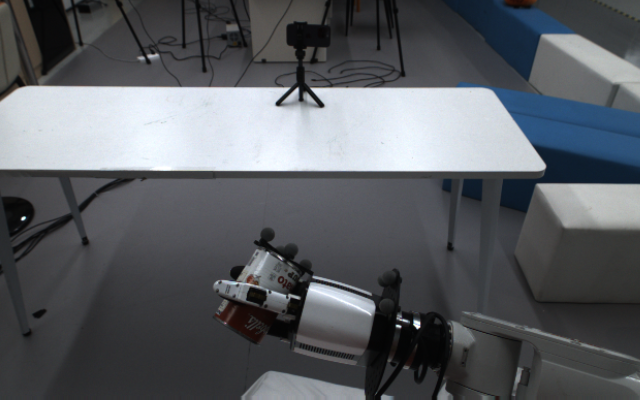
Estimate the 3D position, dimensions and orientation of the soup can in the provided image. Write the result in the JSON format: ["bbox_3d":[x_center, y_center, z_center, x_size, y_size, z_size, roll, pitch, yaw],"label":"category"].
[{"bbox_3d":[-0.077,0.117,0.595,0.067,0.067,0.101,25,72,29],"label":"soup can"}]
